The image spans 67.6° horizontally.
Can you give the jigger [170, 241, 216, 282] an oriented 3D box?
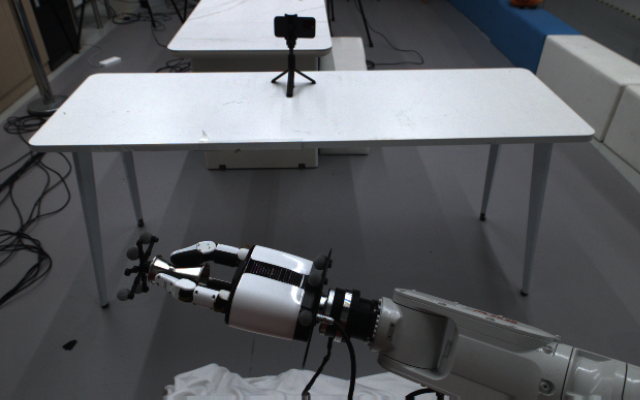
[{"bbox_3d":[-0.178,0.096,0.637,0.071,0.043,0.043,11,35,5],"label":"jigger"}]
